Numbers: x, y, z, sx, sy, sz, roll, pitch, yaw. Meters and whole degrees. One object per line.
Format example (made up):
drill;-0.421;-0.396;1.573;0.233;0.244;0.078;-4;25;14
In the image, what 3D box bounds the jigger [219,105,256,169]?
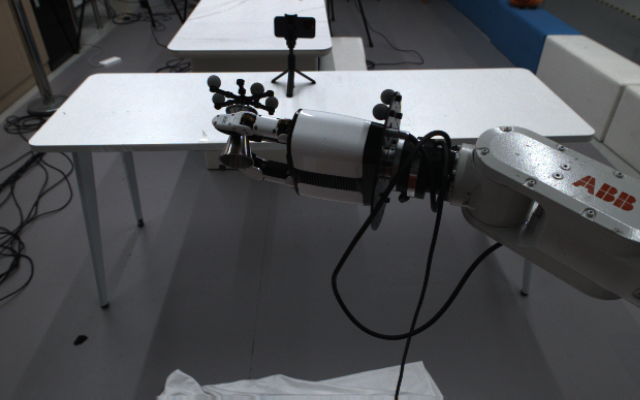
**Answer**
jigger;-0.101;-0.079;0.595;0.043;0.043;0.071;3;72;1
